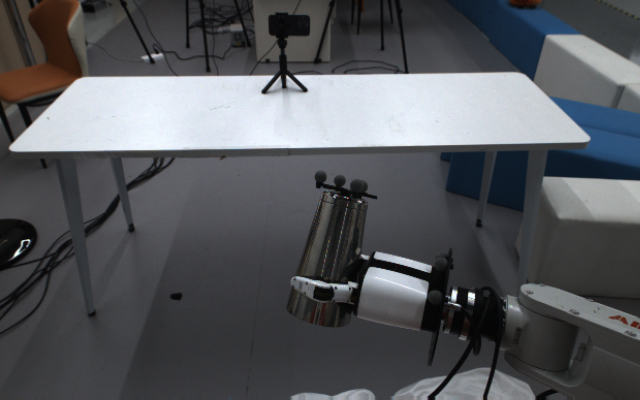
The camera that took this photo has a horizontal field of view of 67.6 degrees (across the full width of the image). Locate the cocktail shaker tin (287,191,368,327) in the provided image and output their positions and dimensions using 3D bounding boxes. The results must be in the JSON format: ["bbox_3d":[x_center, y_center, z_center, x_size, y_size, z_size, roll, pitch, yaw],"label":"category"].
[{"bbox_3d":[0.016,0.078,0.672,0.093,0.170,0.093,13,4,-1],"label":"cocktail shaker tin"}]
